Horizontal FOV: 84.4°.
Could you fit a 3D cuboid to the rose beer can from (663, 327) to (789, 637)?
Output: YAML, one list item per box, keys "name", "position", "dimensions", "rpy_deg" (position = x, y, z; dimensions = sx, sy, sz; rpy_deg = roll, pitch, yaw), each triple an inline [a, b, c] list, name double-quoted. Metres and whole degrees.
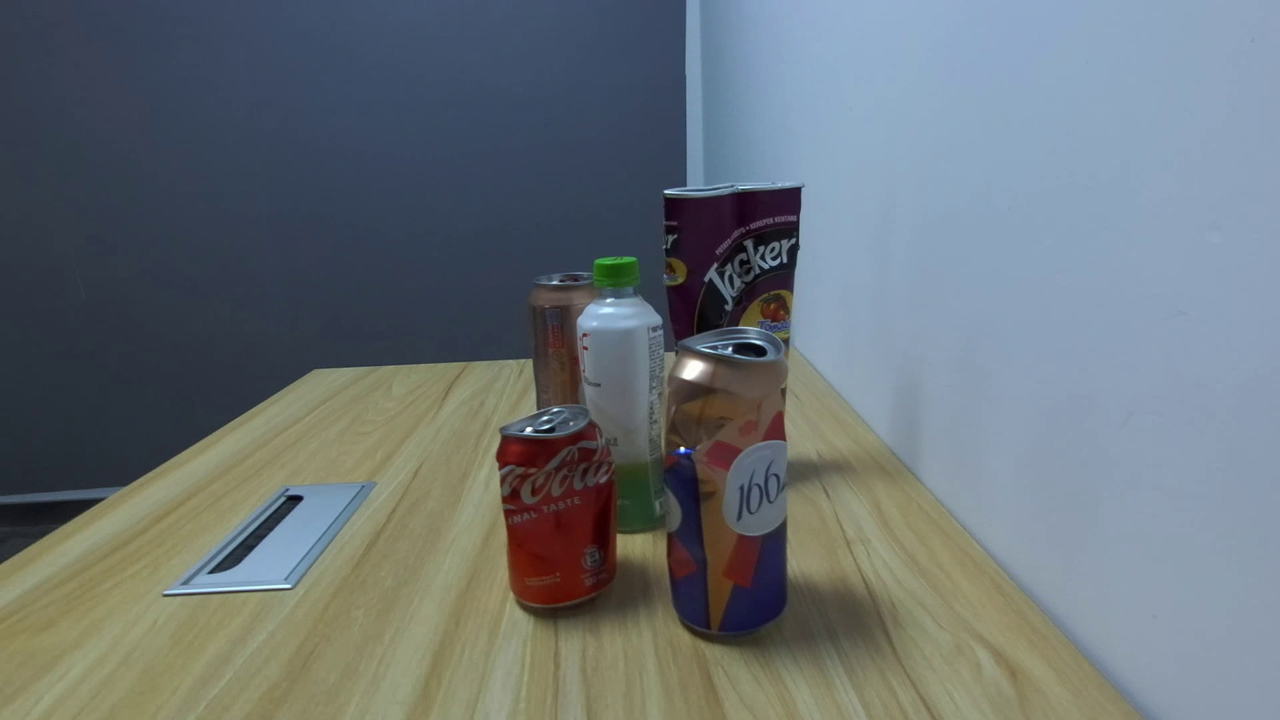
- name: "rose beer can"
  position: [0.048, 0.067, 0.385]
  dimensions: [0.068, 0.162, 0.073]
  rpy_deg: [-1, 17, 3]

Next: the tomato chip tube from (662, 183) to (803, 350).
- name: "tomato chip tube"
  position: [0.073, -0.015, 0.545]
  dimensions: [0.090, 0.235, 0.078]
  rpy_deg: [5, 16, 23]

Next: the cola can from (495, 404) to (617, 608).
- name: "cola can"
  position: [-0.049, 0.086, 0.423]
  dimensions: [0.069, 0.112, 0.065]
  rpy_deg: [-7, 16, -14]

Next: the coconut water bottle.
- name: "coconut water bottle"
  position: [-0.013, 0.023, 0.504]
  dimensions: [0.063, 0.188, 0.063]
  rpy_deg: [-2, 15, 1]

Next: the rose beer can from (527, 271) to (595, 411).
- name: "rose beer can"
  position: [-0.052, 0.022, 0.576]
  dimensions: [0.068, 0.169, 0.068]
  rpy_deg: [-5, 8, 1]
